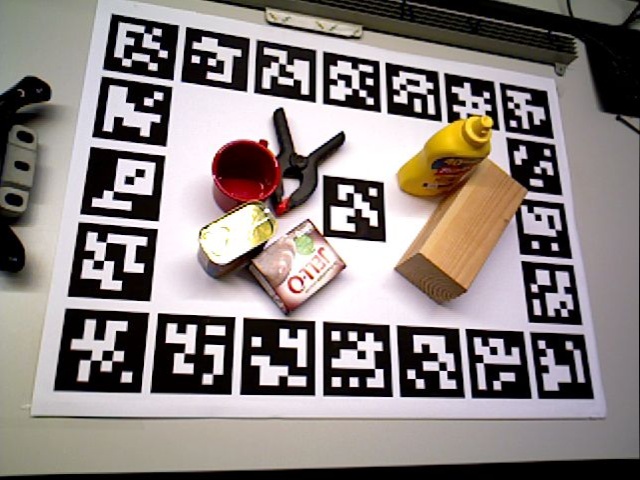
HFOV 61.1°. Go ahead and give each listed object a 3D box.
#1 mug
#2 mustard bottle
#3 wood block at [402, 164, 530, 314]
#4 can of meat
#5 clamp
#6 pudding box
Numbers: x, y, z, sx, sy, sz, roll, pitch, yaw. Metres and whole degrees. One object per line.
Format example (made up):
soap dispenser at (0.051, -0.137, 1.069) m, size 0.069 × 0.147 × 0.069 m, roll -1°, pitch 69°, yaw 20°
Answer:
mug at (-0.105, -0.086, 0.771) m, size 0.093 × 0.083 × 0.115 m, roll 26°, pitch 70°, yaw -6°
mustard bottle at (0.200, -0.123, 0.779) m, size 0.095 × 0.195 × 0.058 m, roll 0°, pitch 72°, yaw -15°
wood block at (0.224, -0.003, 0.809) m, size 0.090 × 0.093 × 0.202 m, roll 39°, pitch 65°, yaw 1°
can of meat at (-0.109, 0.006, 0.710) m, size 0.100 × 0.085 × 0.058 m, roll -26°, pitch 82°, yaw -21°
clamp at (-0.027, -0.115, 0.806) m, size 0.121 × 0.037 × 0.163 m, roll 24°, pitch 71°, yaw -9°
pudding box at (-0.022, 0.044, 0.752) m, size 0.112 × 0.039 × 0.090 m, roll -36°, pitch 86°, yaw -24°
